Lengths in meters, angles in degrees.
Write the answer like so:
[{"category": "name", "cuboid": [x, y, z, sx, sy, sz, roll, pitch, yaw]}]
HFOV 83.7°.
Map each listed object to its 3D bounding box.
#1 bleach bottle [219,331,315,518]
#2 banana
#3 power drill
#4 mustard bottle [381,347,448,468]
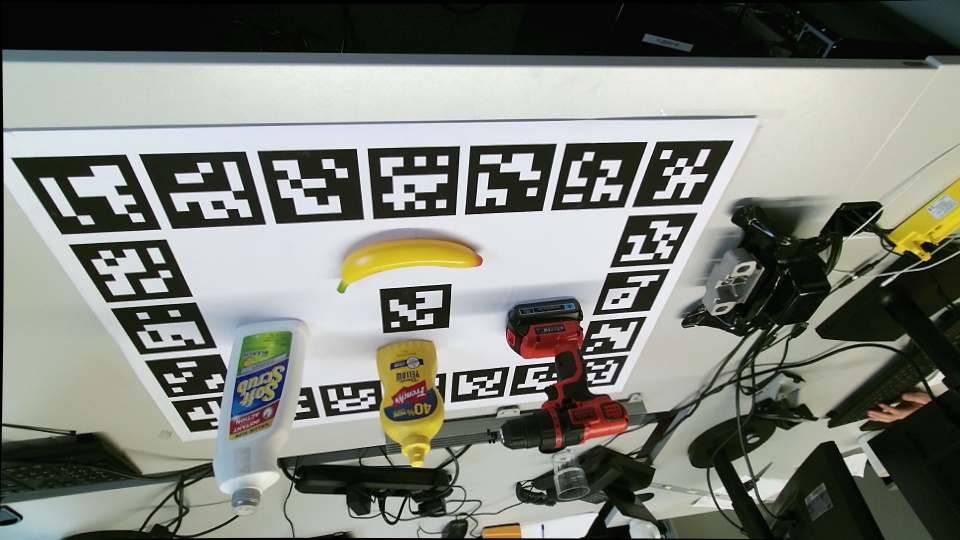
[{"category": "bleach bottle", "cuboid": [-0.277, 0.195, 0.705, 0.103, 0.249, 0.068, 2, 133, -15]}, {"category": "banana", "cuboid": [-0.091, 0.007, 0.704, 0.198, 0.038, 0.074, -10, 133, -8]}, {"category": "power drill", "cuboid": [0.097, 0.181, 0.784, 0.185, 0.186, 0.057, -11, 135, -9]}, {"category": "mustard bottle", "cuboid": [-0.098, 0.206, 0.805, 0.096, 0.190, 0.058, -9, 135, -3]}]
